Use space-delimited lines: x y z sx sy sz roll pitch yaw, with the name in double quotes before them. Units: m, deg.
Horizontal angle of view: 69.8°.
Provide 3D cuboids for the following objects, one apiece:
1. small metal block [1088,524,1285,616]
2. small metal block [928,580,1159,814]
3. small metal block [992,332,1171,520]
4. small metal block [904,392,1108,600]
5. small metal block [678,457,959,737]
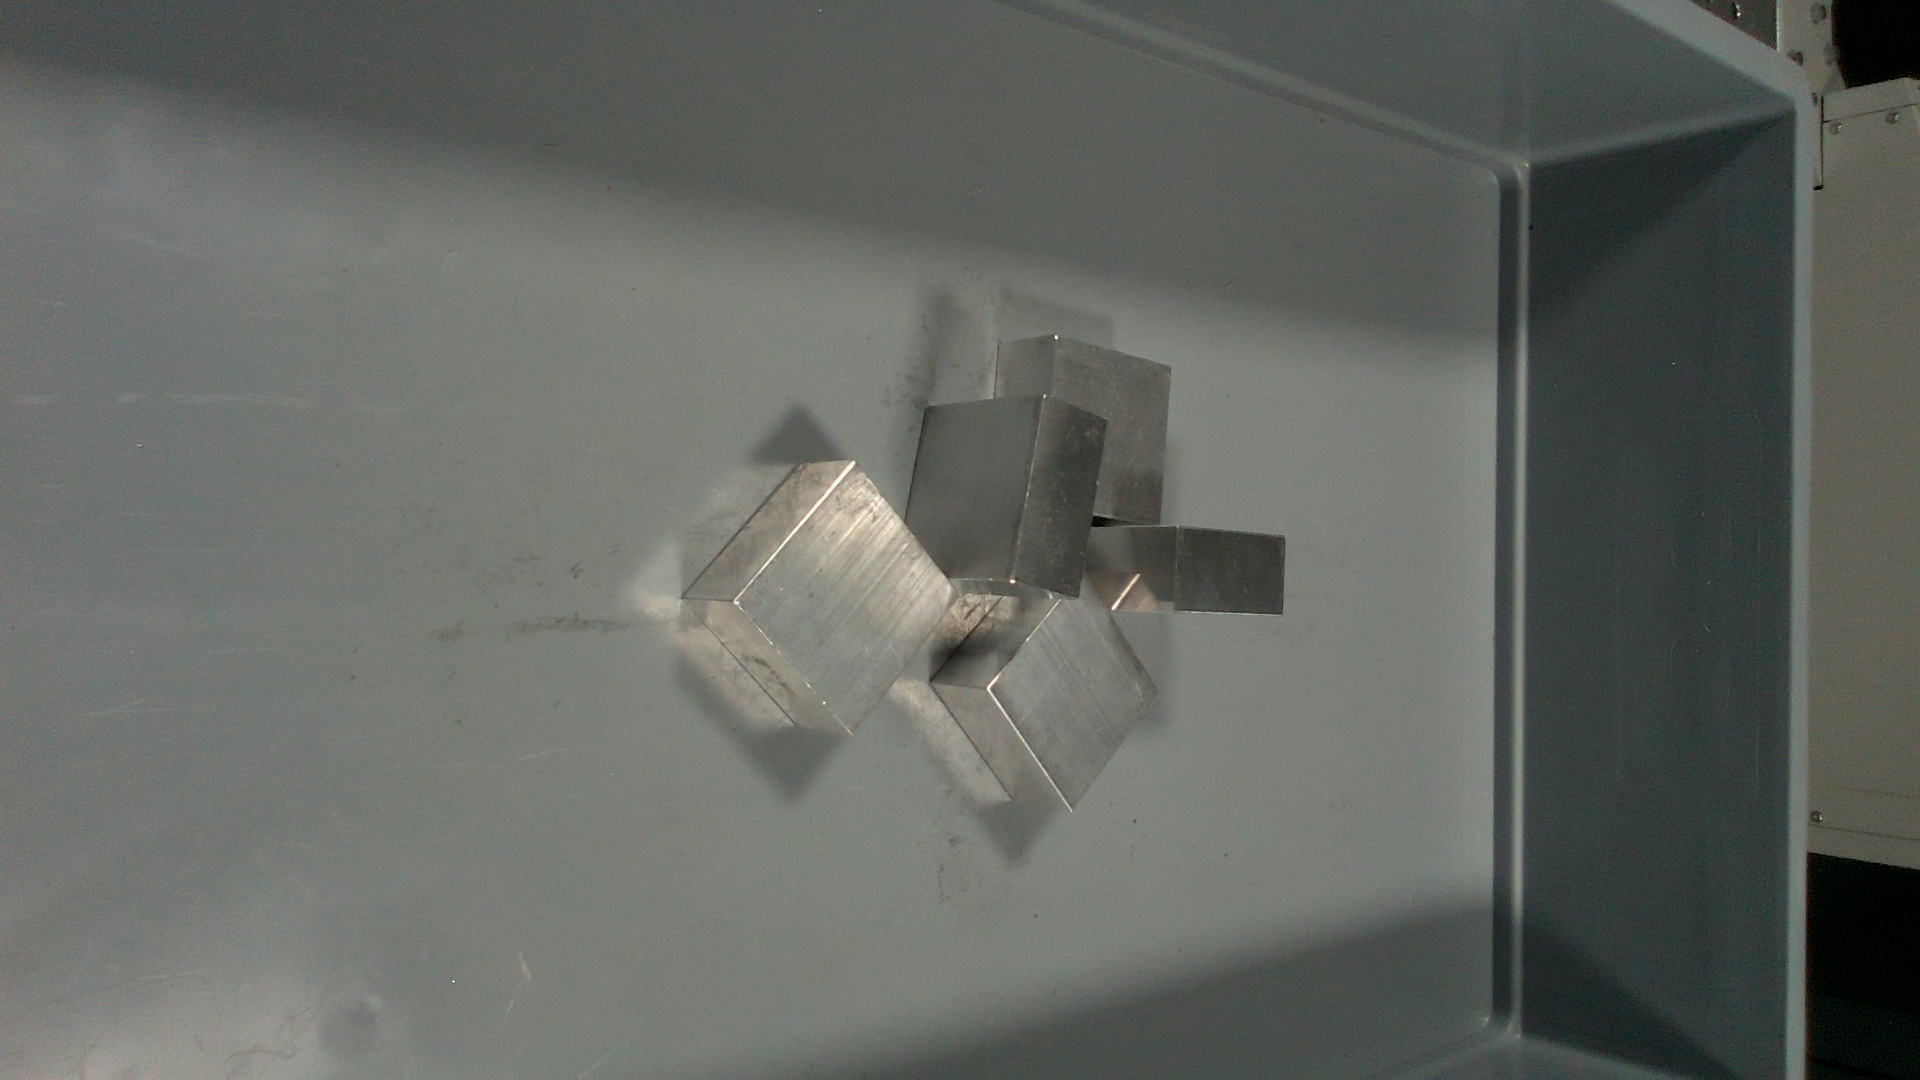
"small metal block" 0.064 0.009 0.424 0.050 0.050 0.025 4 88 -40
"small metal block" 0.026 0.044 0.408 0.050 0.025 0.050 -48 119 -29
"small metal block" 0.036 -0.032 0.417 0.050 0.025 0.050 8 85 -39
"small metal block" 0.011 -0.011 0.379 0.025 0.050 0.050 16 80 -39
"small metal block" -0.036 0.014 0.358 0.050 0.025 0.050 -52 120 -27
